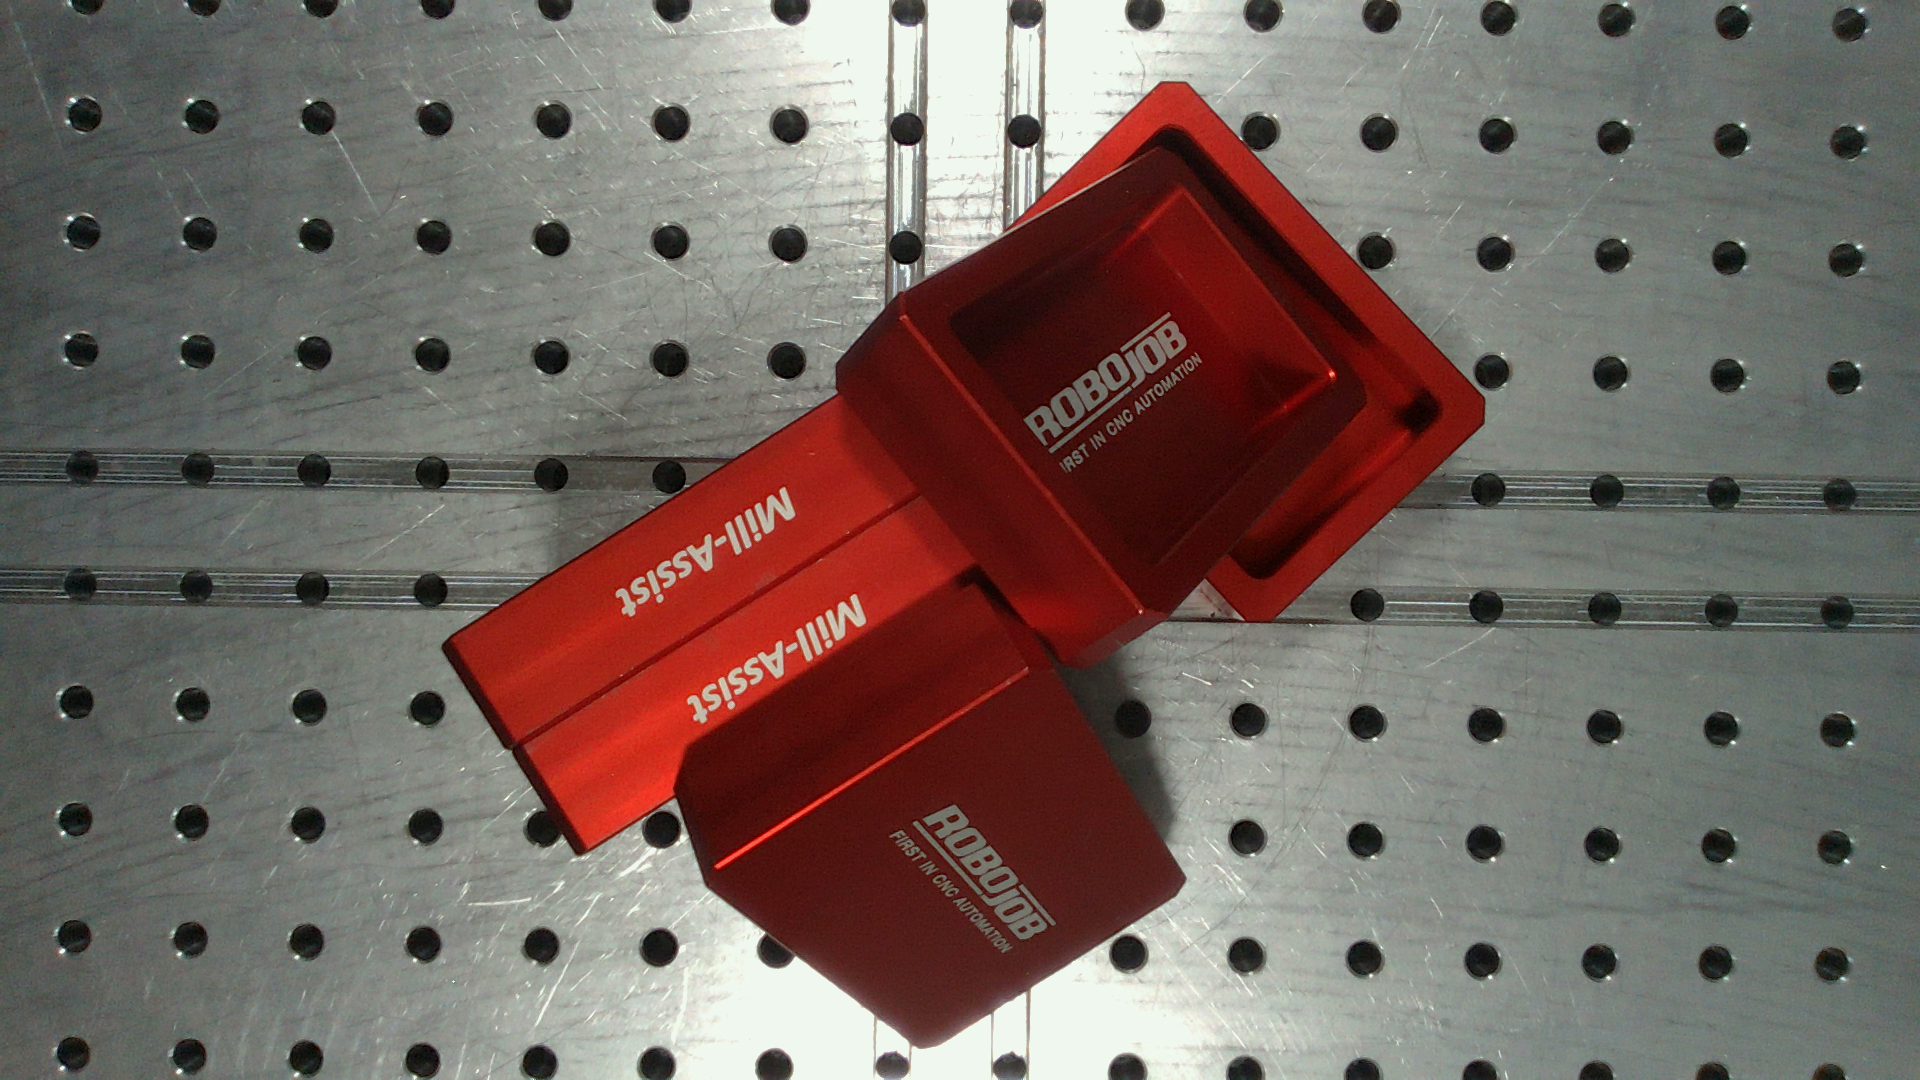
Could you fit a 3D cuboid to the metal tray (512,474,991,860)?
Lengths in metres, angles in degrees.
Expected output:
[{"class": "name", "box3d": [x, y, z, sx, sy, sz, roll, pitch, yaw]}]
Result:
[{"class": "metal tray", "box3d": [-0.043, 0.028, 0.364, 0.130, 0.090, 0.030, -33, 90, 0]}]

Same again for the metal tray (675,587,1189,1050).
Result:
[{"class": "metal tray", "box3d": [0.000, 0.077, 0.352, 0.090, 0.130, 0.030, -33, 49, 0]}]

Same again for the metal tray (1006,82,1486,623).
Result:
[{"class": "metal tray", "box3d": [0.072, -0.052, 0.394, 0.090, 0.030, 0.130, -44, 90, 0]}]

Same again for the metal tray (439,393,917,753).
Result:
[{"class": "metal tray", "box3d": [-0.060, 0.003, 0.365, 0.130, 0.090, 0.030, -33, 90, 0]}]

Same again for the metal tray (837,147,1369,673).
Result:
[{"class": "metal tray", "box3d": [0.042, -0.038, 0.341, 0.090, 0.030, 0.130, 51, 45, 0]}]
